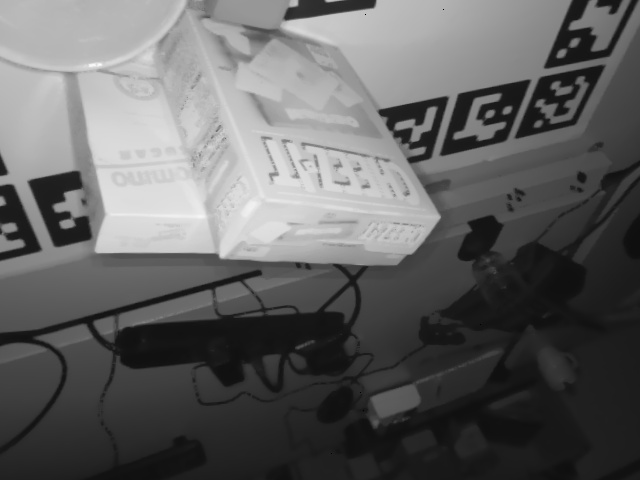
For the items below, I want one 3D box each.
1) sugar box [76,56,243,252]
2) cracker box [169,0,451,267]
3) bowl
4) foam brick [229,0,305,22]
[{"bbox_3d":[-0.121,-0.070,0.527,0.094,0.176,0.044,1,138,-34],"label":"sugar box"},{"bbox_3d":[-0.010,-0.090,0.542,0.166,0.214,0.071,9,136,-39],"label":"cracker box"},{"bbox_3d":[-0.151,-0.192,0.435,0.163,0.055,0.160,-18,144,-12],"label":"bowl"},{"bbox_3d":[-0.040,-0.202,0.500,0.053,0.078,0.050,-3,141,-30],"label":"foam brick"}]
